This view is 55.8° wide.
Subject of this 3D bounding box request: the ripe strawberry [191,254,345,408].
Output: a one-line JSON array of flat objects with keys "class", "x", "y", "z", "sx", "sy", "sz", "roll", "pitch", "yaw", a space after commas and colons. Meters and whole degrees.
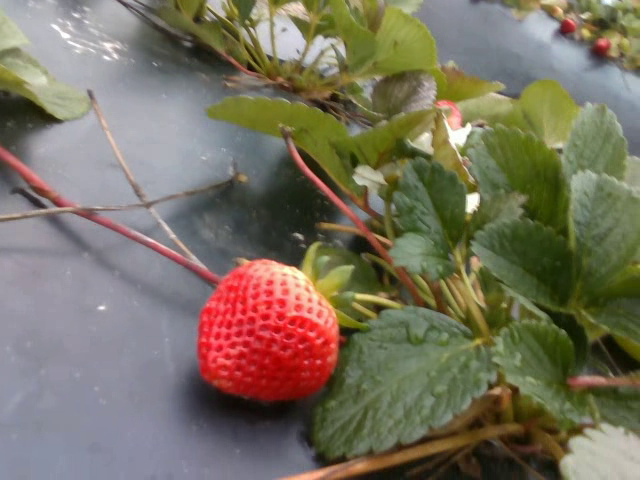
[{"class": "ripe strawberry", "x": -0.023, "y": 0.032, "z": 0.226, "sx": 0.064, "sy": 0.061, "sz": 0.050, "roll": -44, "pitch": -6, "yaw": -23}]
